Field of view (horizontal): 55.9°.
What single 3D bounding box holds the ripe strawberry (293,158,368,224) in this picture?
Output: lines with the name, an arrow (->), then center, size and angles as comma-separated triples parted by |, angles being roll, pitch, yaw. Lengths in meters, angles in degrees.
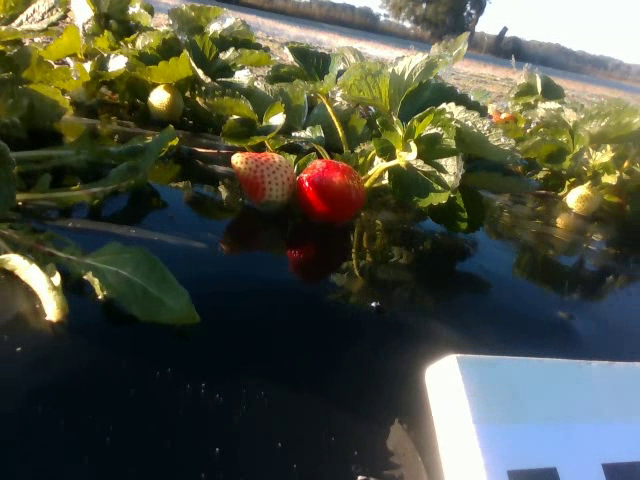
ripe strawberry -> 0.009, -0.030, 0.307 | 0.040, 0.038, 0.056 | -21, -17, -7
